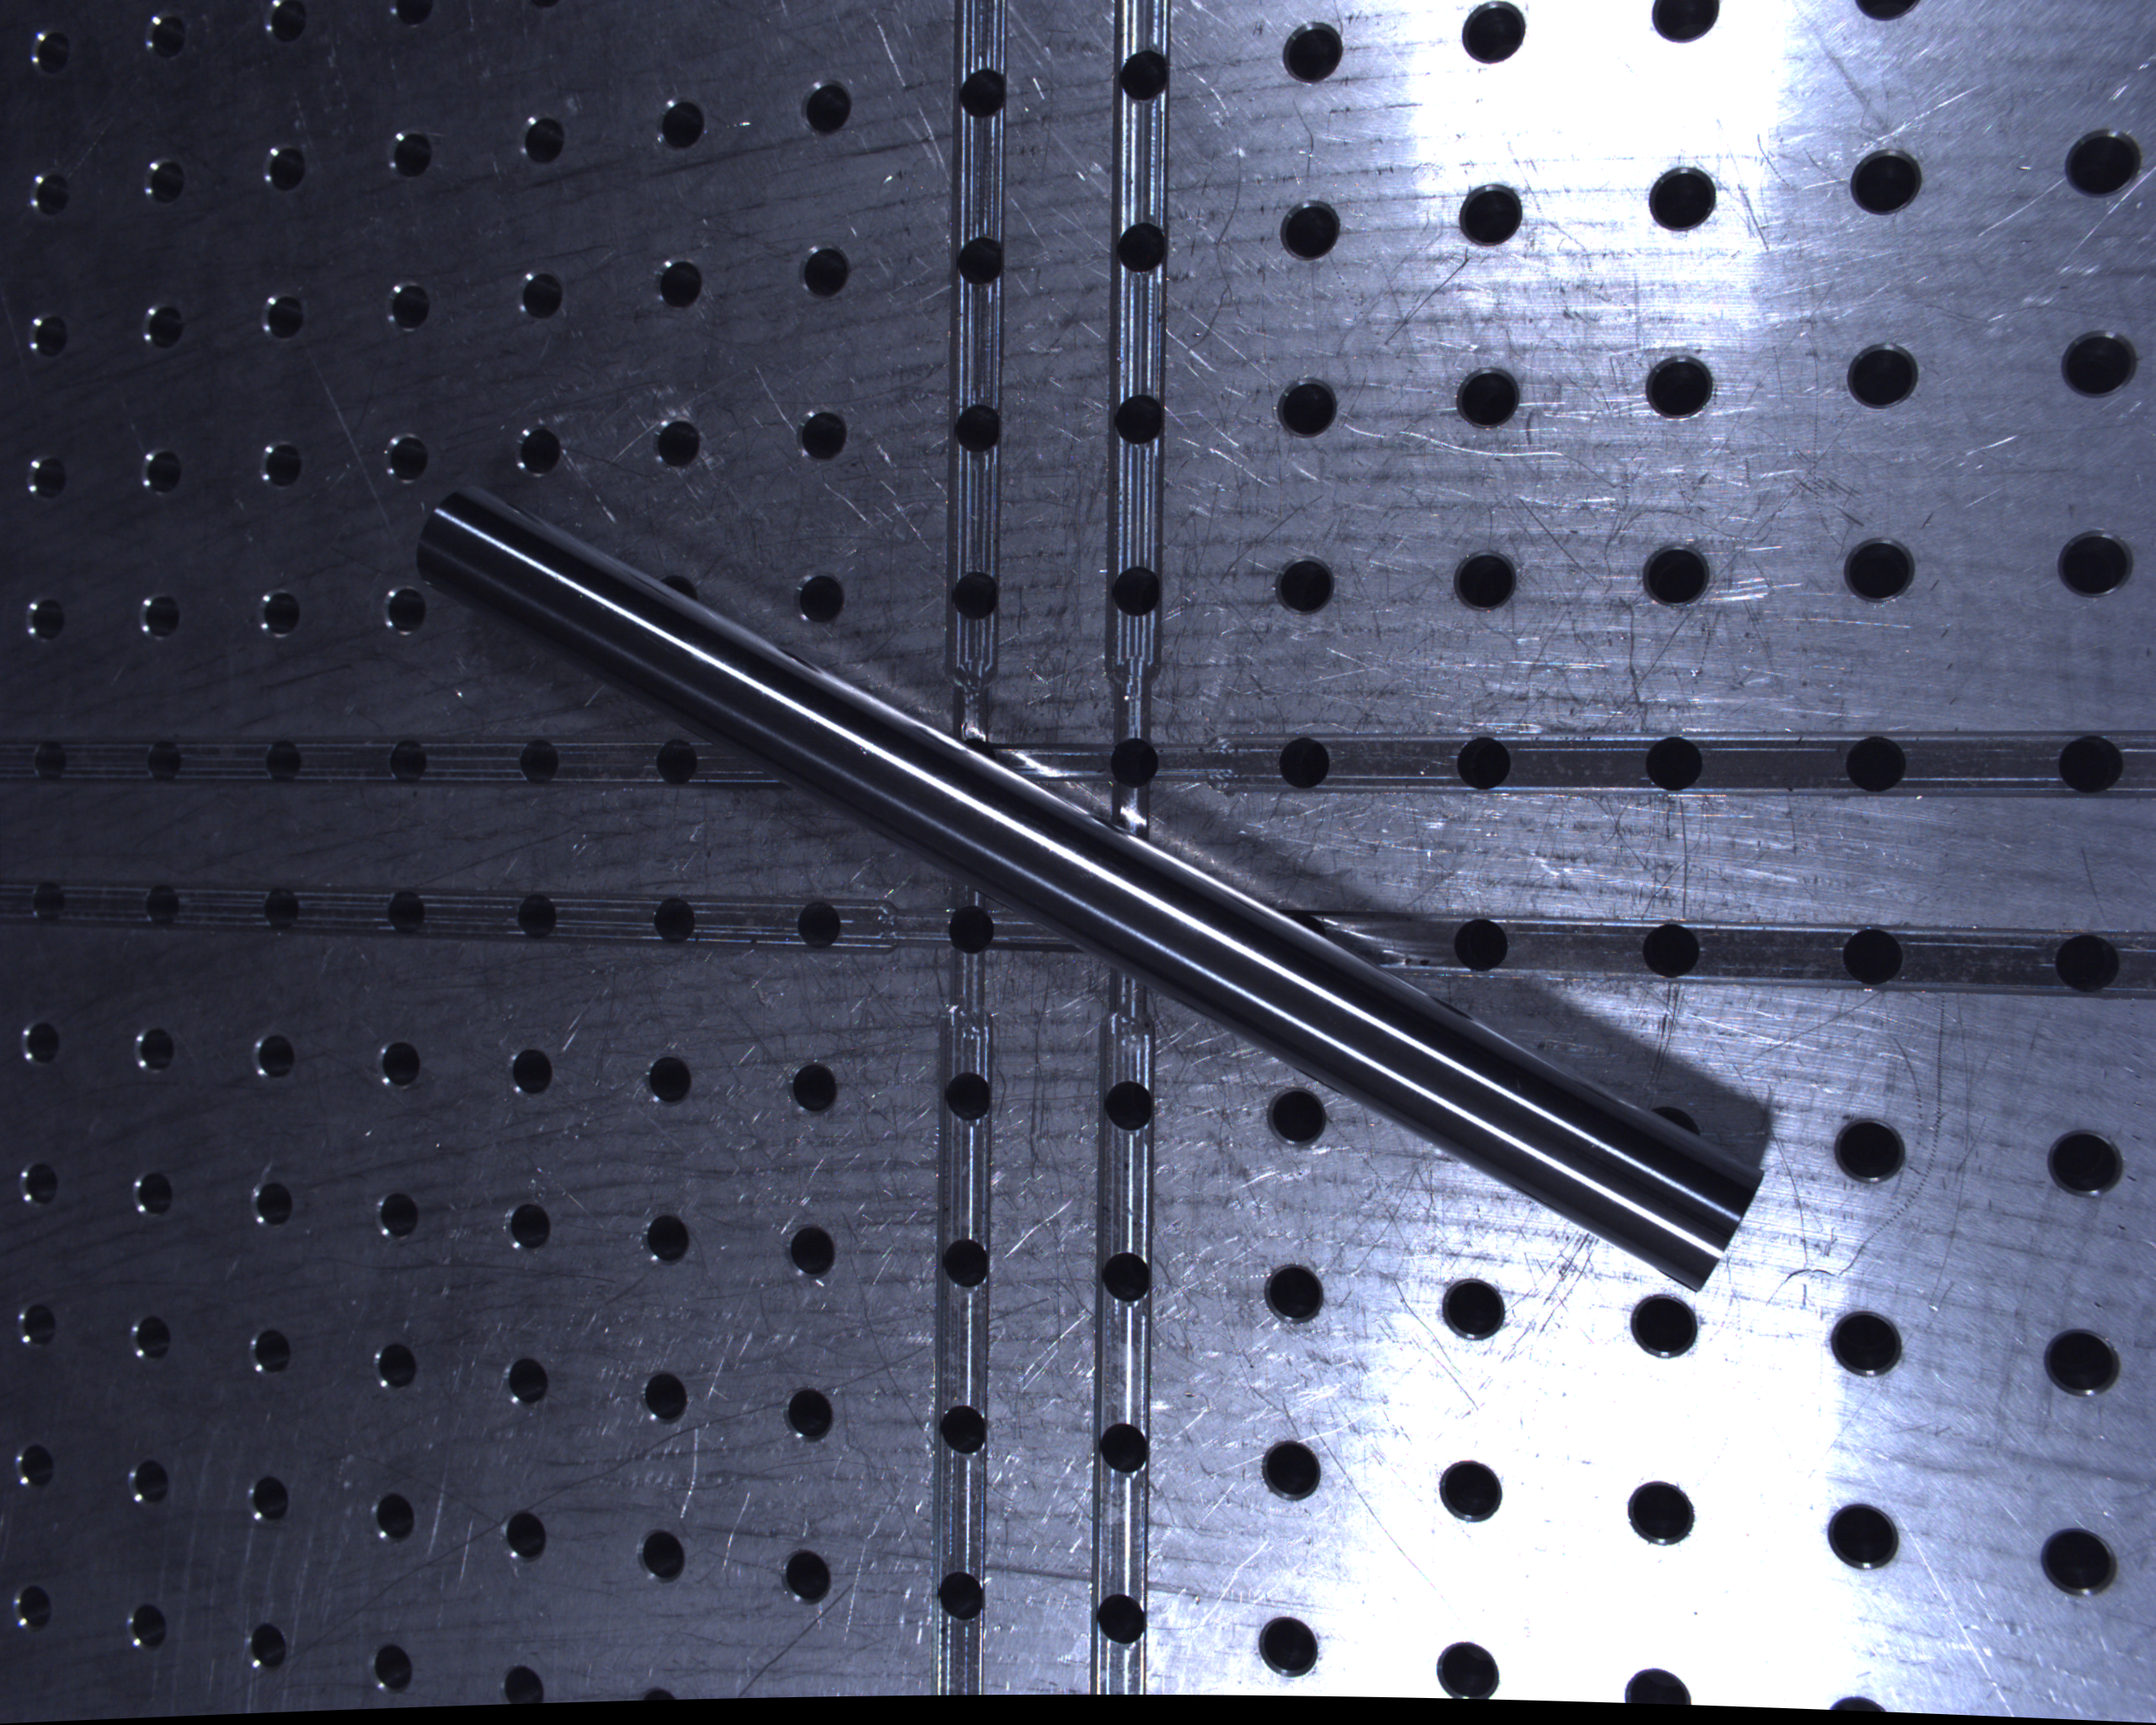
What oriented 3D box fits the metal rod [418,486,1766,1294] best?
[{"bbox_3d":[-0.010,-0.003,0.415,0.301,0.025,0.025,29,99,17],"label":"metal rod"}]
